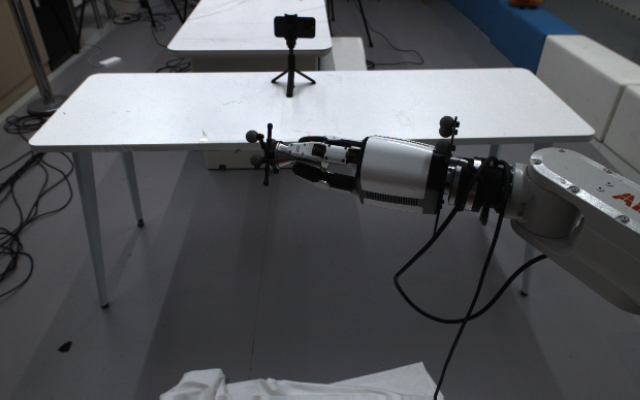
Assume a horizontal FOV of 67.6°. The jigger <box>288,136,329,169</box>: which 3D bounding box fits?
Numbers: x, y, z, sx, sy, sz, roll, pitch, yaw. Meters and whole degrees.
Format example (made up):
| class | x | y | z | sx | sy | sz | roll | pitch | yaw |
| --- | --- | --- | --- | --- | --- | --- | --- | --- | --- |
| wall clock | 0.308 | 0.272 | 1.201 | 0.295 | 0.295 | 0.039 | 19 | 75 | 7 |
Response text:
| class | x | y | z | sx | sy | sz | roll | pitch | yaw |
| --- | --- | --- | --- | --- | --- | --- | --- | --- | --- |
| jigger | -0.017 | -0.066 | 0.676 | 0.071 | 0.043 | 0.043 | 2 | 34 | 16 |
